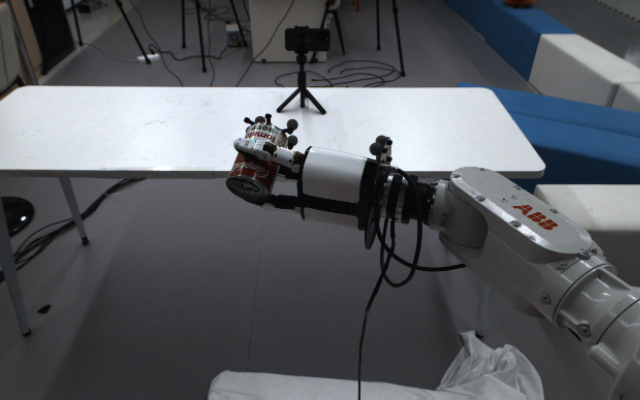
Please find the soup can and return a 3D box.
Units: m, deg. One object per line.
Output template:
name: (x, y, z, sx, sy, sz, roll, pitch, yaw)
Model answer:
soup can: (-0.092, -0.057, 0.726, 0.067, 0.067, 0.101, 9, 60, 10)
